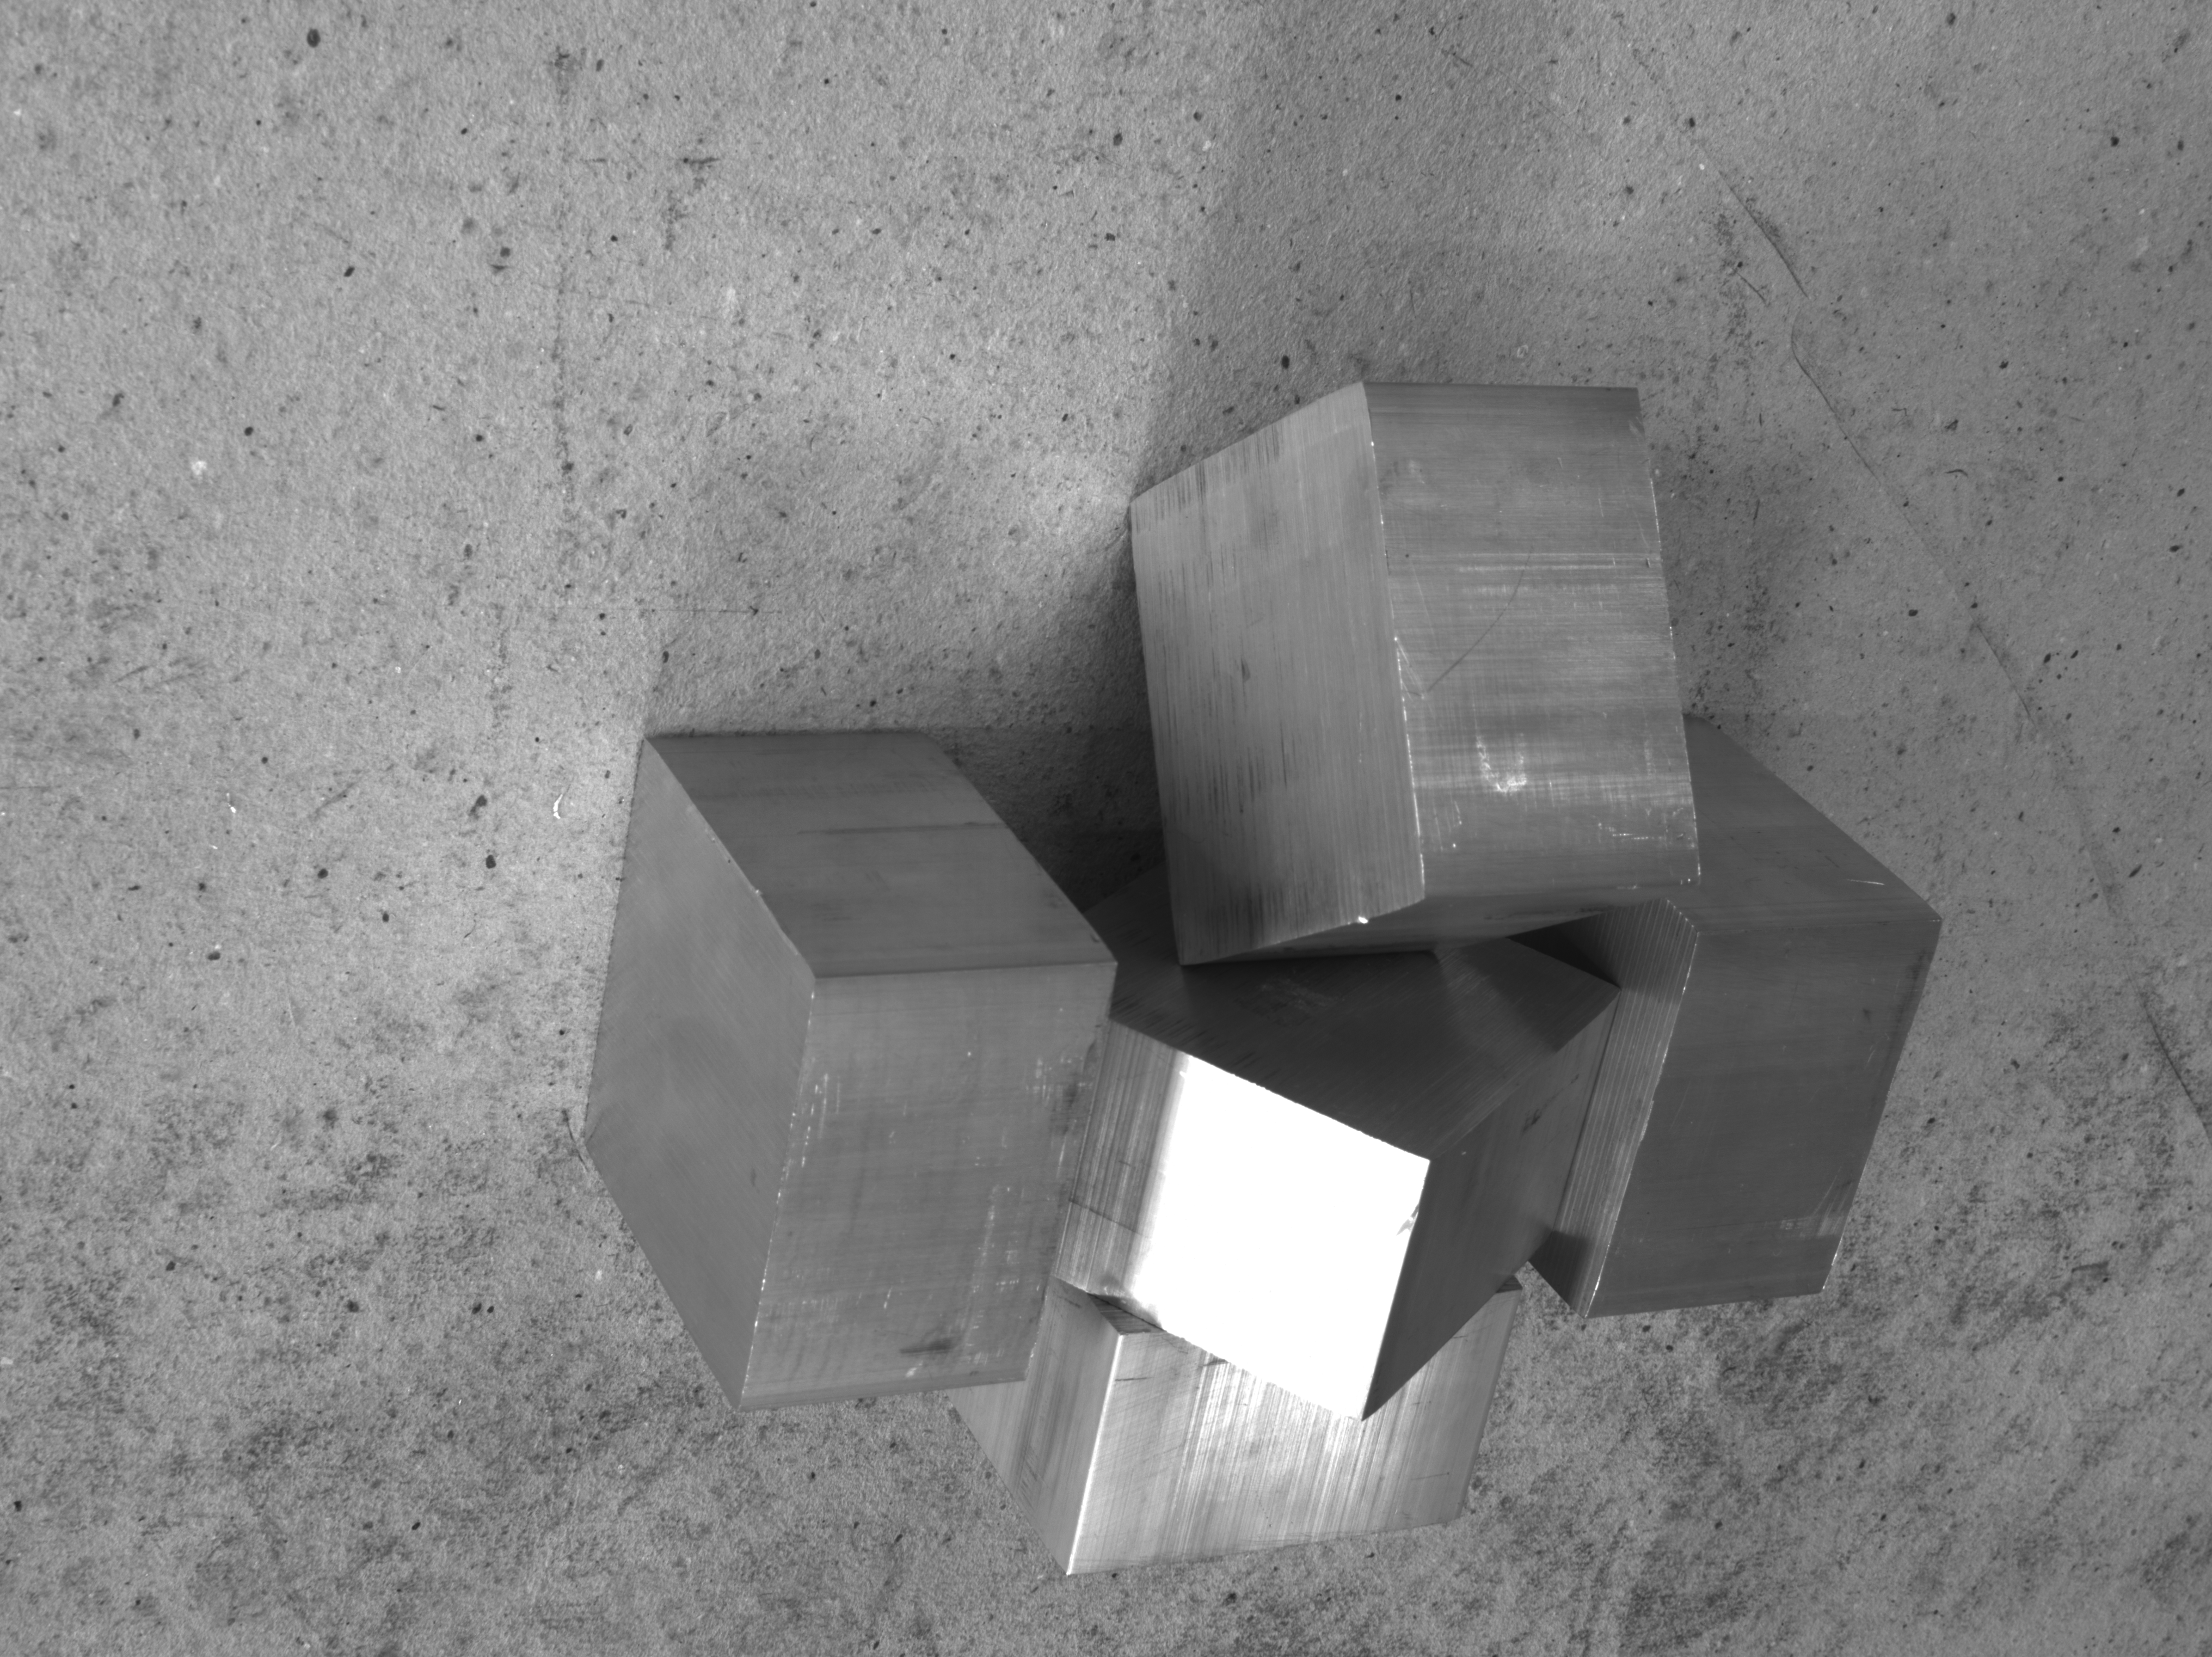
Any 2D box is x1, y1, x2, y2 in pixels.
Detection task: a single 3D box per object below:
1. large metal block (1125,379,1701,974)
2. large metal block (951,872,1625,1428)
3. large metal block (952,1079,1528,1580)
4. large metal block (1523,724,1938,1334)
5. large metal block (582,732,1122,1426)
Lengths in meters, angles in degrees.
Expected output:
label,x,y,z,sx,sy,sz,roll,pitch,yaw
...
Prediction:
label,x,y,z,sx,sy,sz,roll,pitch,yaw
large metal block,0.047,-0.023,0.595,0.050,0.080,0.080,-3,82,-27
large metal block,0.032,0.048,0.630,0.080,0.080,0.050,-31,138,-55
large metal block,0.016,0.085,0.664,0.080,0.080,0.050,-3,119,-27
large metal block,0.098,0.034,0.676,0.050,0.080,0.080,-3,118,-28
large metal block,-0.044,0.038,0.601,0.050,0.080,0.080,-2,119,-28
